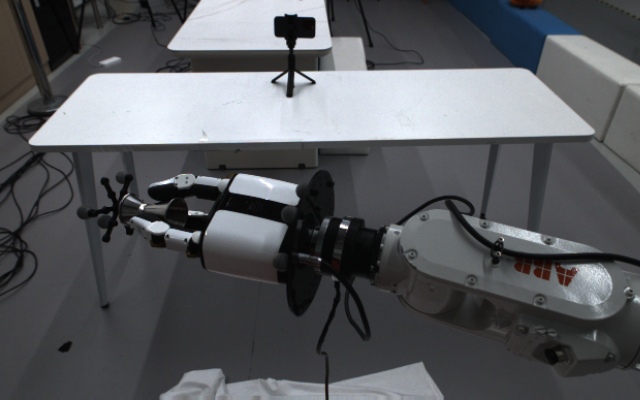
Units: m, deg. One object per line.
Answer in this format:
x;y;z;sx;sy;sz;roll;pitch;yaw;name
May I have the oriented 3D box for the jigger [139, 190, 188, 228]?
-0.192;0.008;0.576;0.071;0.043;0.043;5;34;18;jigger
